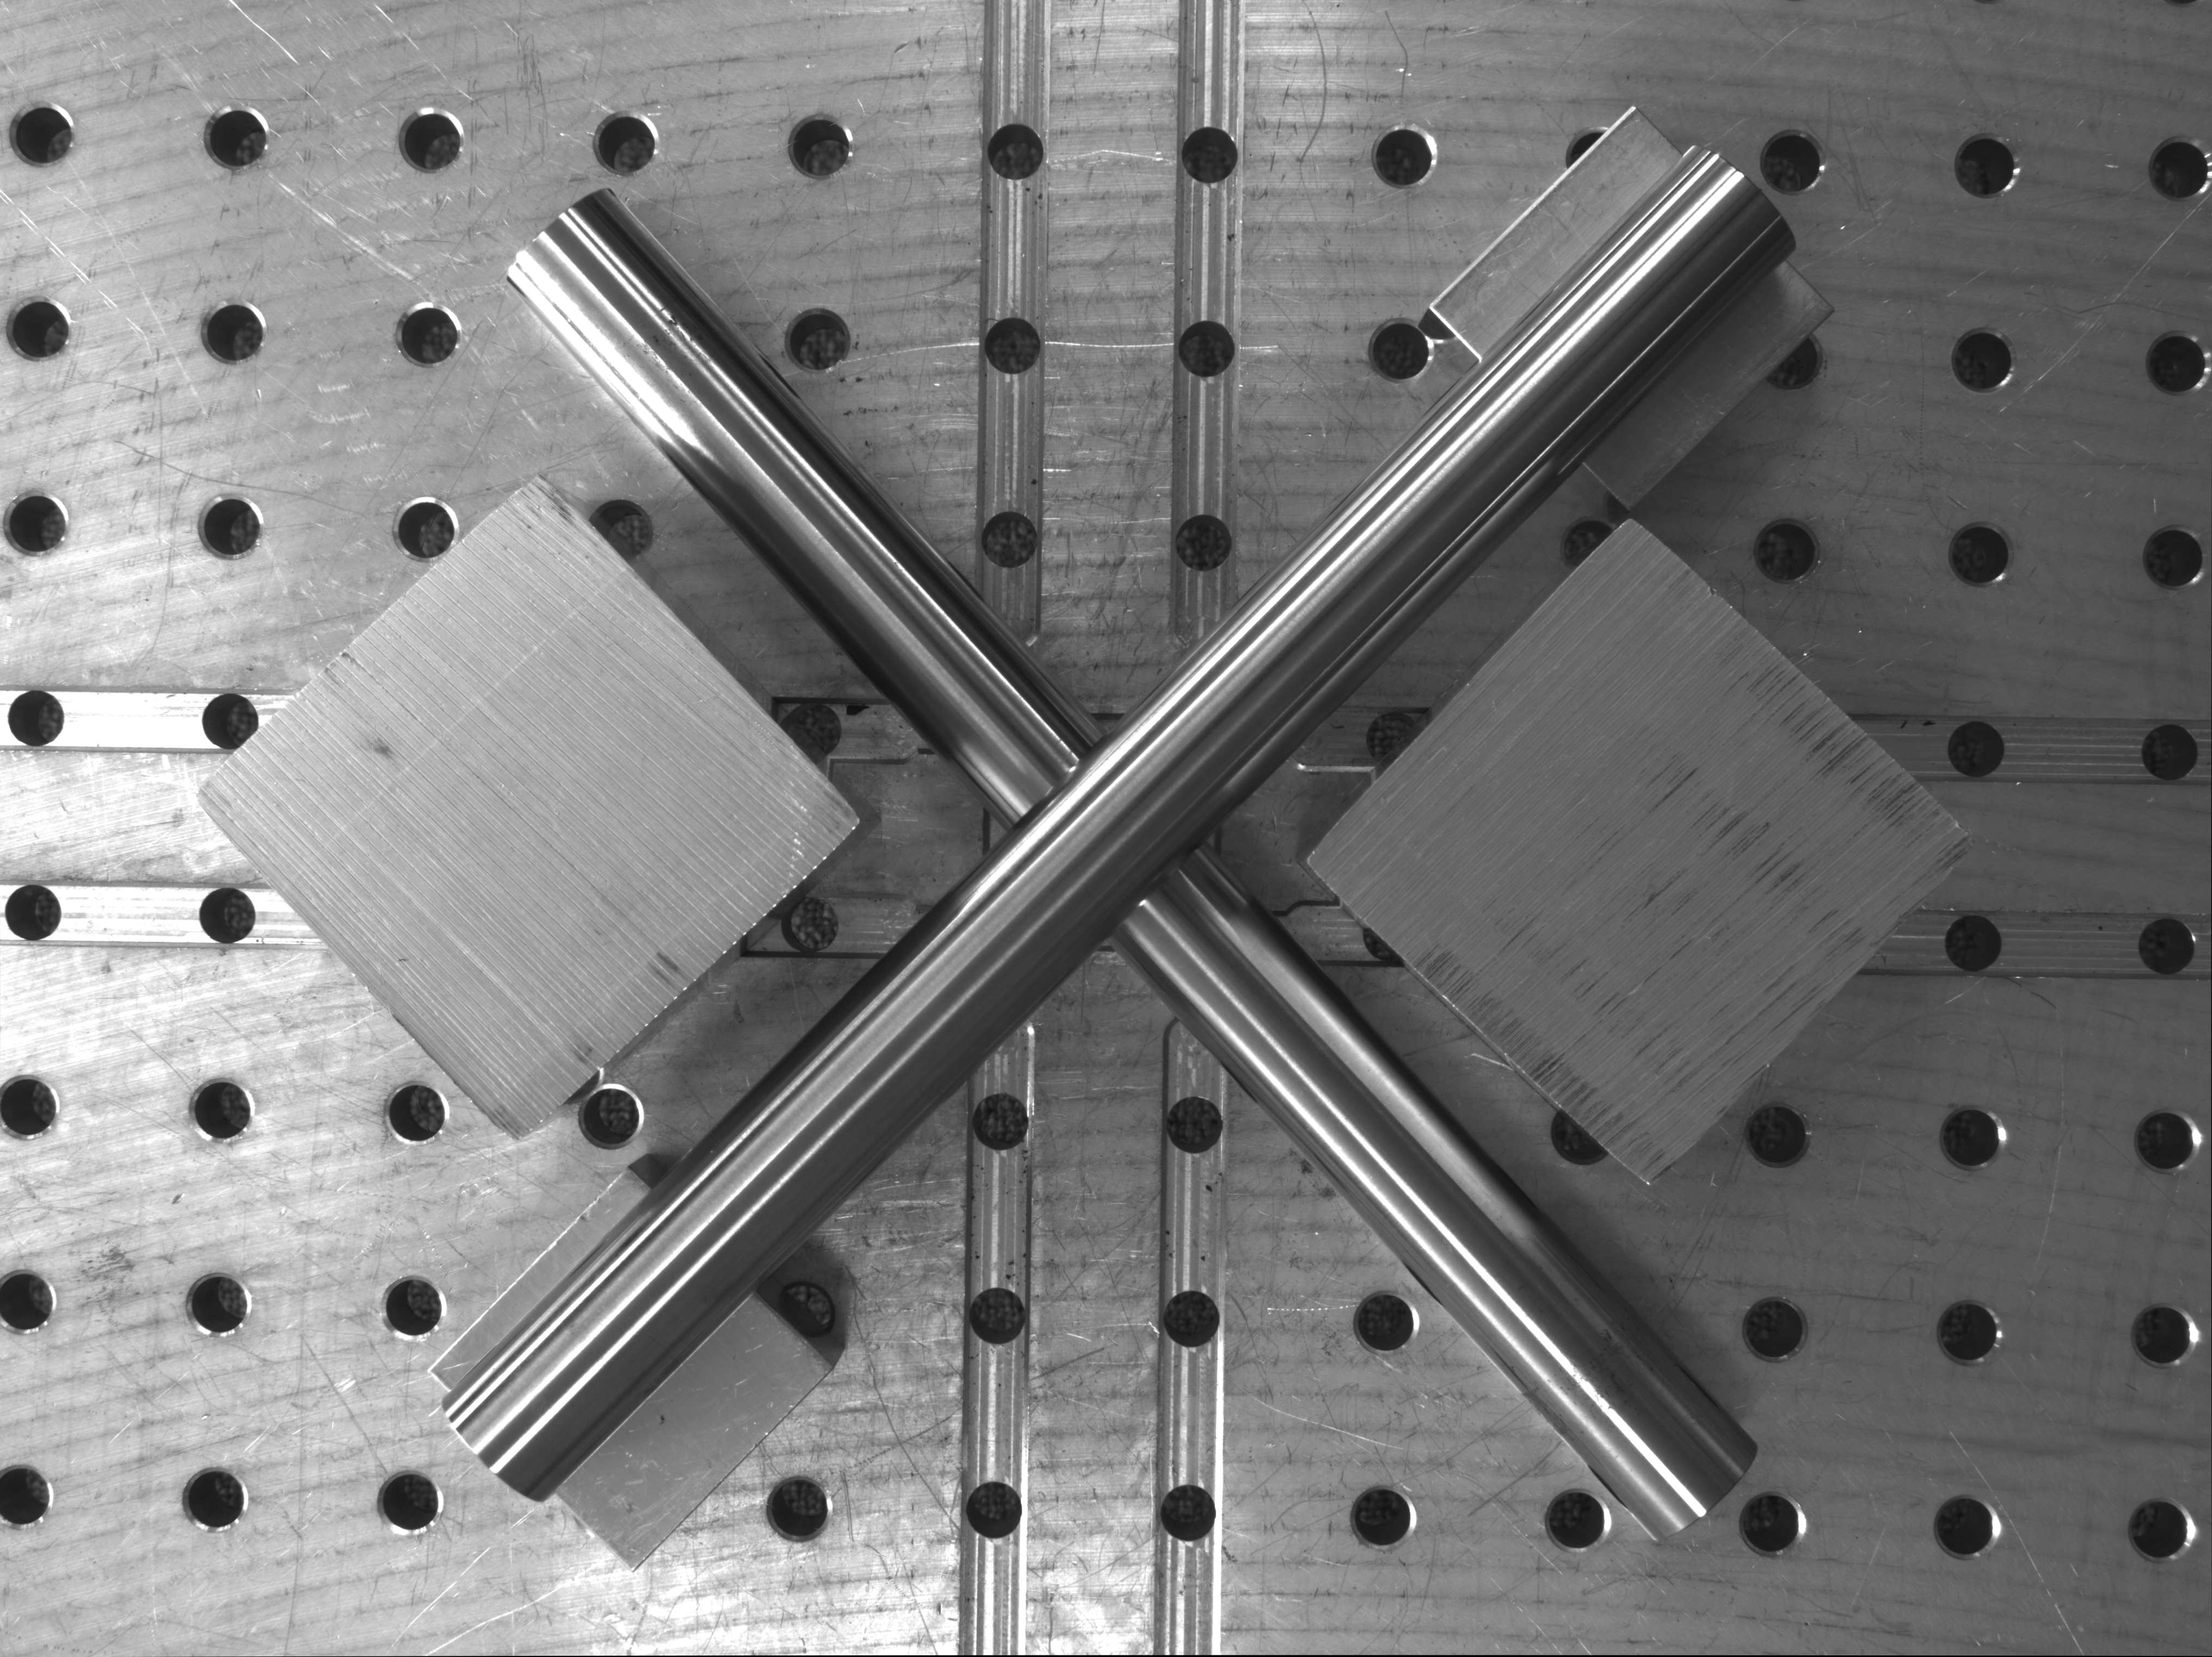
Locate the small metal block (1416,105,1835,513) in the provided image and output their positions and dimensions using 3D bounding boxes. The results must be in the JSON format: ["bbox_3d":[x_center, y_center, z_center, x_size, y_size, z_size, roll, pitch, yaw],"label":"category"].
[{"bbox_3d":[0.091,-0.090,0.648,0.050,0.025,0.050,-44,90,0],"label":"small metal block"}]

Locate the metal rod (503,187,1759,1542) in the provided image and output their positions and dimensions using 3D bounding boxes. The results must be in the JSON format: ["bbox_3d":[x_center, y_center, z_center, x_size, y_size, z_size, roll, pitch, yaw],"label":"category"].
[{"bbox_3d":[0.004,0.006,0.647,0.025,0.025,0.300,-42,90,0],"label":"metal rod"}]

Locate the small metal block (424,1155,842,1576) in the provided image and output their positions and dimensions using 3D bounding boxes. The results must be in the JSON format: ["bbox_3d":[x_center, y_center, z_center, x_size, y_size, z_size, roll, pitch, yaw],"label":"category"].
[{"bbox_3d":[-0.083,0.094,0.647,0.050,0.025,0.050,45,90,0],"label":"small metal block"}]

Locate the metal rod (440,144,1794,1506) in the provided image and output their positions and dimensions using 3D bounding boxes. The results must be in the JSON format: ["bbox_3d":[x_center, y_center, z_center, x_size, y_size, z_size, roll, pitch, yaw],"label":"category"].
[{"bbox_3d":[0.002,-0.001,0.622,0.025,0.025,0.300,45,90,0],"label":"metal rod"}]

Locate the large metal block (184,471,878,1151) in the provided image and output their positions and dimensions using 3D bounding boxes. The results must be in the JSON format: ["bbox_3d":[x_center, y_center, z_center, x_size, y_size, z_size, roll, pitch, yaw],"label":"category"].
[{"bbox_3d":[-0.097,-0.003,0.635,0.080,0.050,0.080,-43,90,0],"label":"large metal block"}]

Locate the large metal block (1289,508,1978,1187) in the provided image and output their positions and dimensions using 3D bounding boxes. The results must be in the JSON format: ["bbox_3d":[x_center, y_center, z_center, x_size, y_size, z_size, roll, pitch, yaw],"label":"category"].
[{"bbox_3d":[0.089,0.003,0.635,0.080,0.050,0.080,43,90,0],"label":"large metal block"}]
